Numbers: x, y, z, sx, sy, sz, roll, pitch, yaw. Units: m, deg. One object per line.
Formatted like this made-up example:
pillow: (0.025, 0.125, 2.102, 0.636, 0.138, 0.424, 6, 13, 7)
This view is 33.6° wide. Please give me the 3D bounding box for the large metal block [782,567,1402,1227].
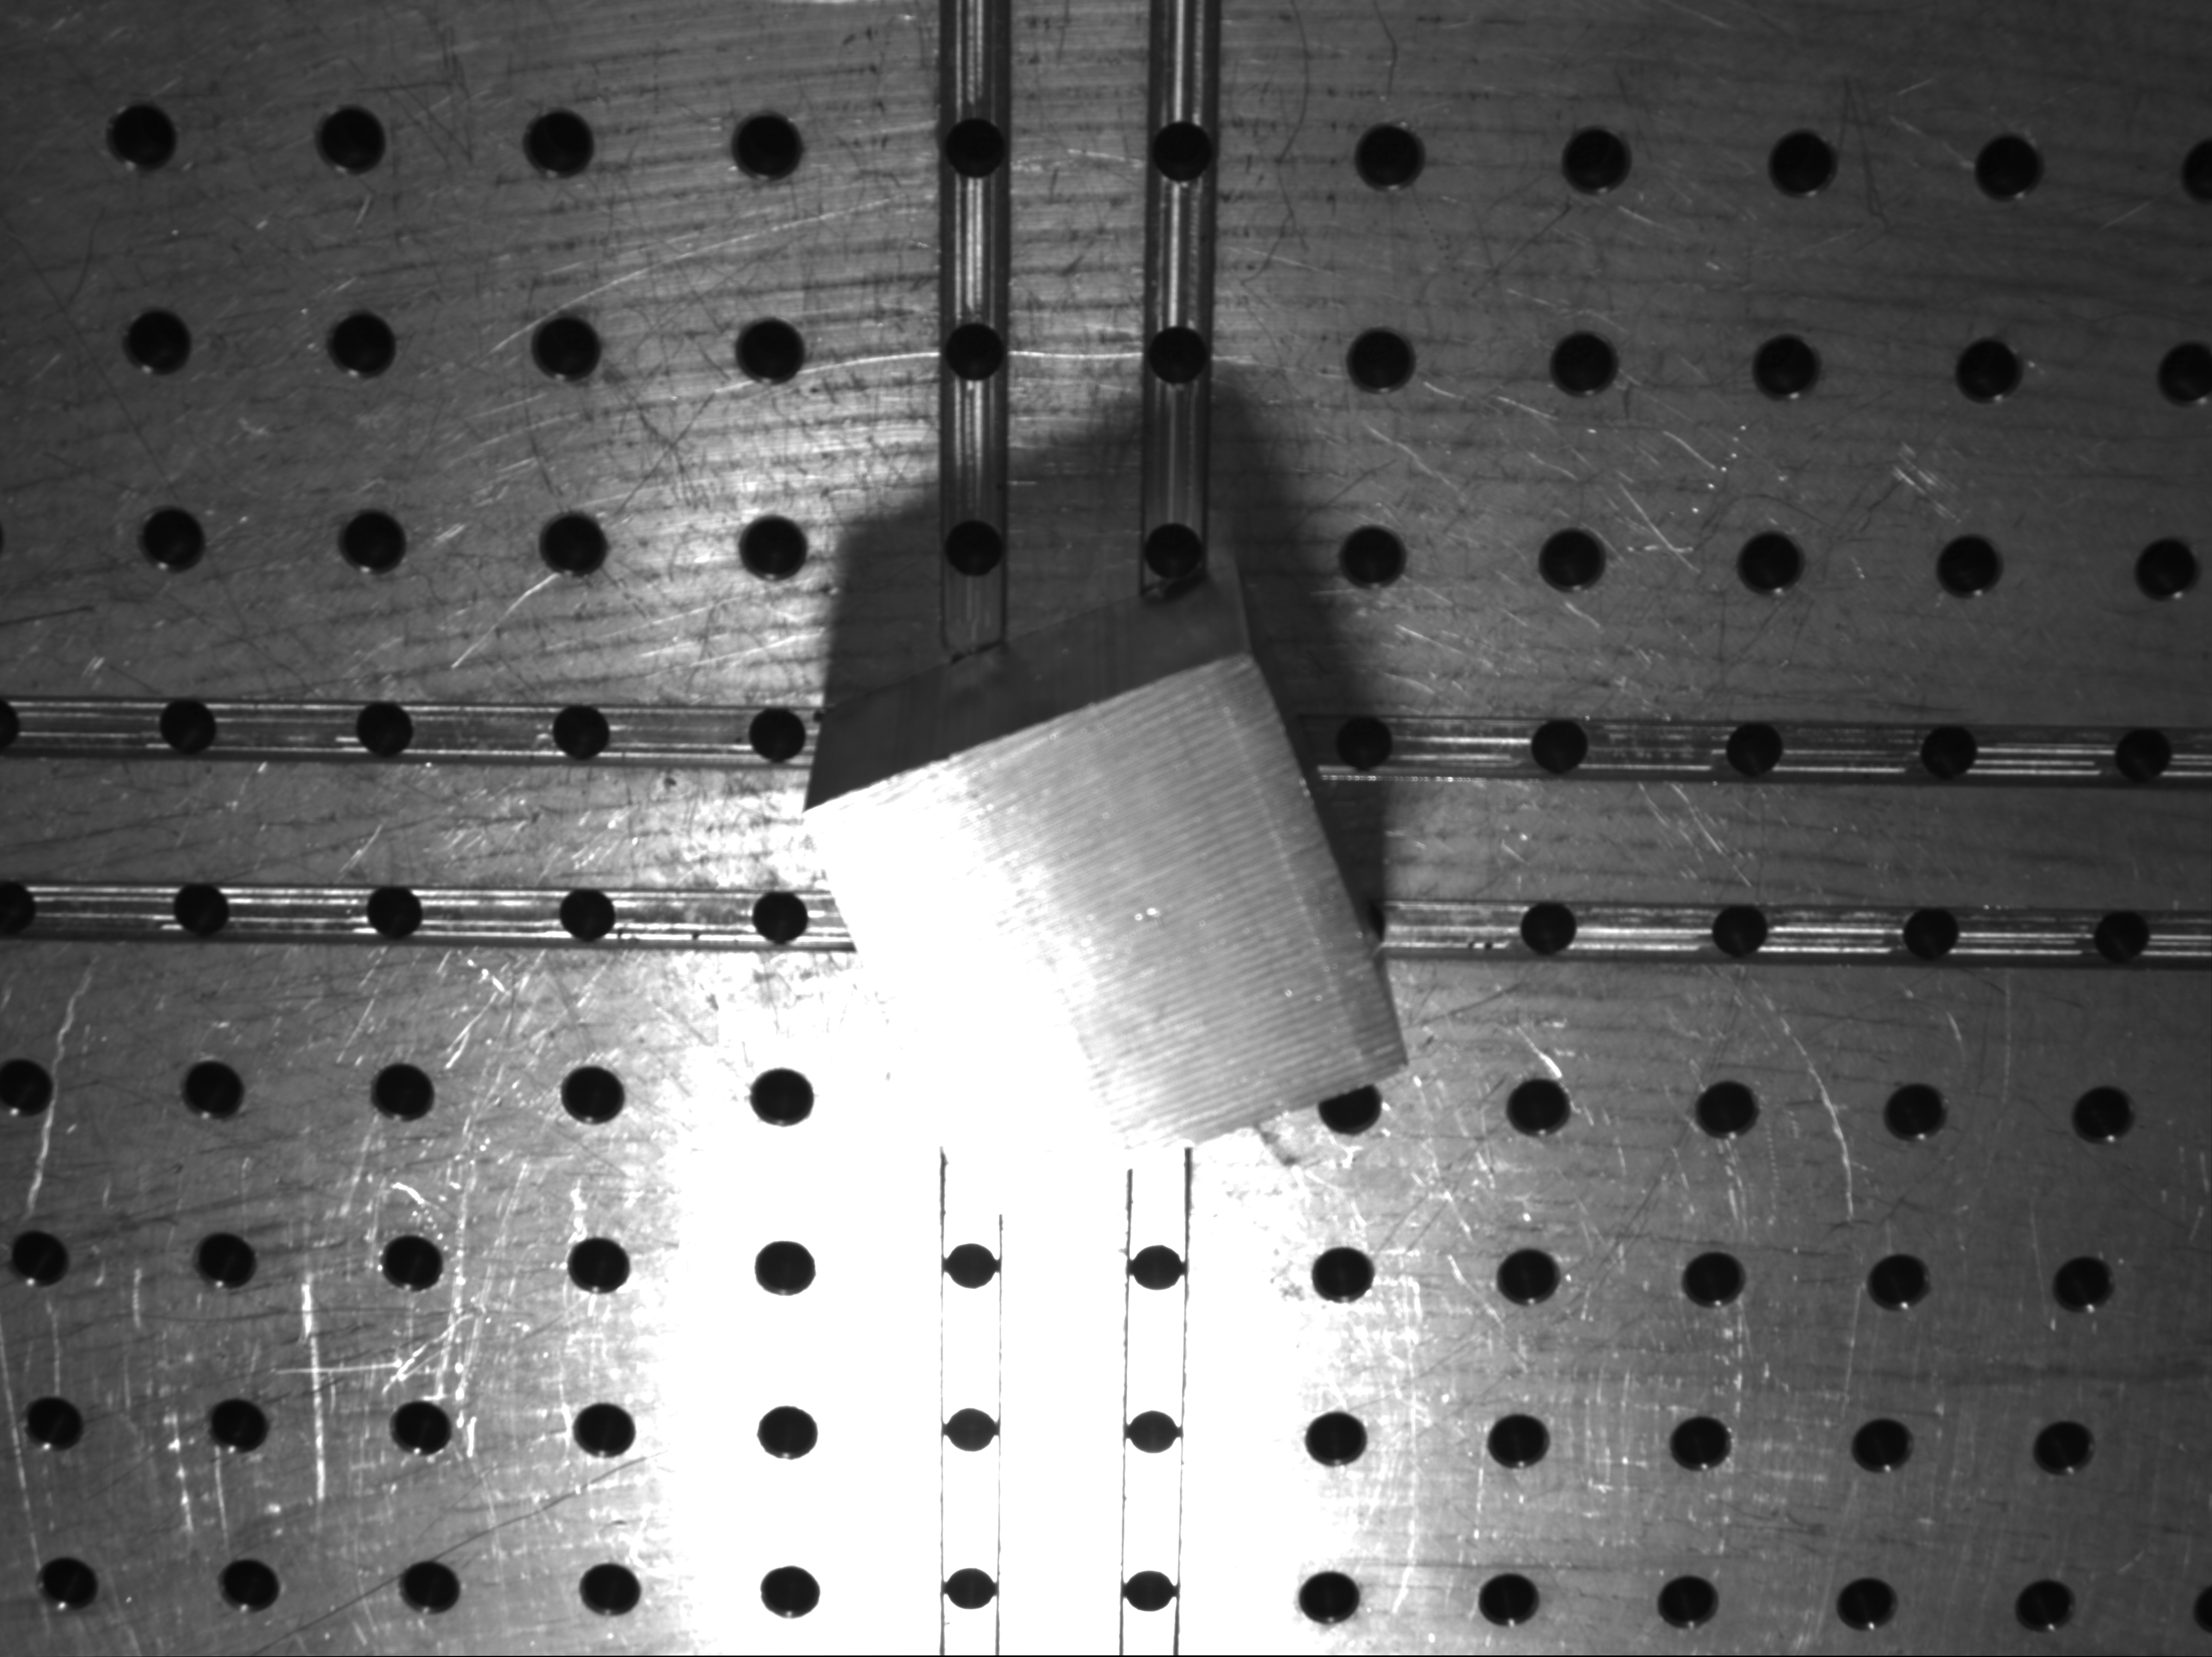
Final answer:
large metal block: (-0.002, 0.011, 0.633, 0.080, 0.050, 0.080, -20, 109, 6)
